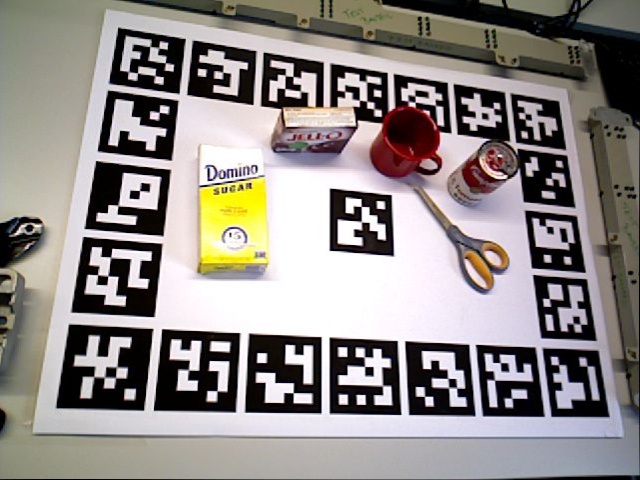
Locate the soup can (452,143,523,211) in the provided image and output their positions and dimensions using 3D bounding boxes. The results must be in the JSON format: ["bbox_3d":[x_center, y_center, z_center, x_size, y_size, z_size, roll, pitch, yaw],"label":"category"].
[{"bbox_3d":[0.256,-0.095,0.837,0.067,0.104,0.067,4,71,-13],"label":"soup can"}]

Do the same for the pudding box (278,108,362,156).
[{"bbox_3d":[0.002,-0.156,0.787,0.112,0.091,0.038,-4,80,-16],"label":"pudding box"}]

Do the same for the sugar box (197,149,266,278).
[{"bbox_3d":[-0.122,-0.037,0.753,0.092,0.046,0.175,1,75,-12],"label":"sugar box"}]

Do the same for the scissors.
[{"bbox_3d":[0.225,0.005,0.836,0.087,0.016,0.203,-39,87,-11],"label":"scissors"}]

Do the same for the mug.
[{"bbox_3d":[0.144,-0.142,0.826,0.092,0.083,0.117,-32,82,-18],"label":"mug"}]
